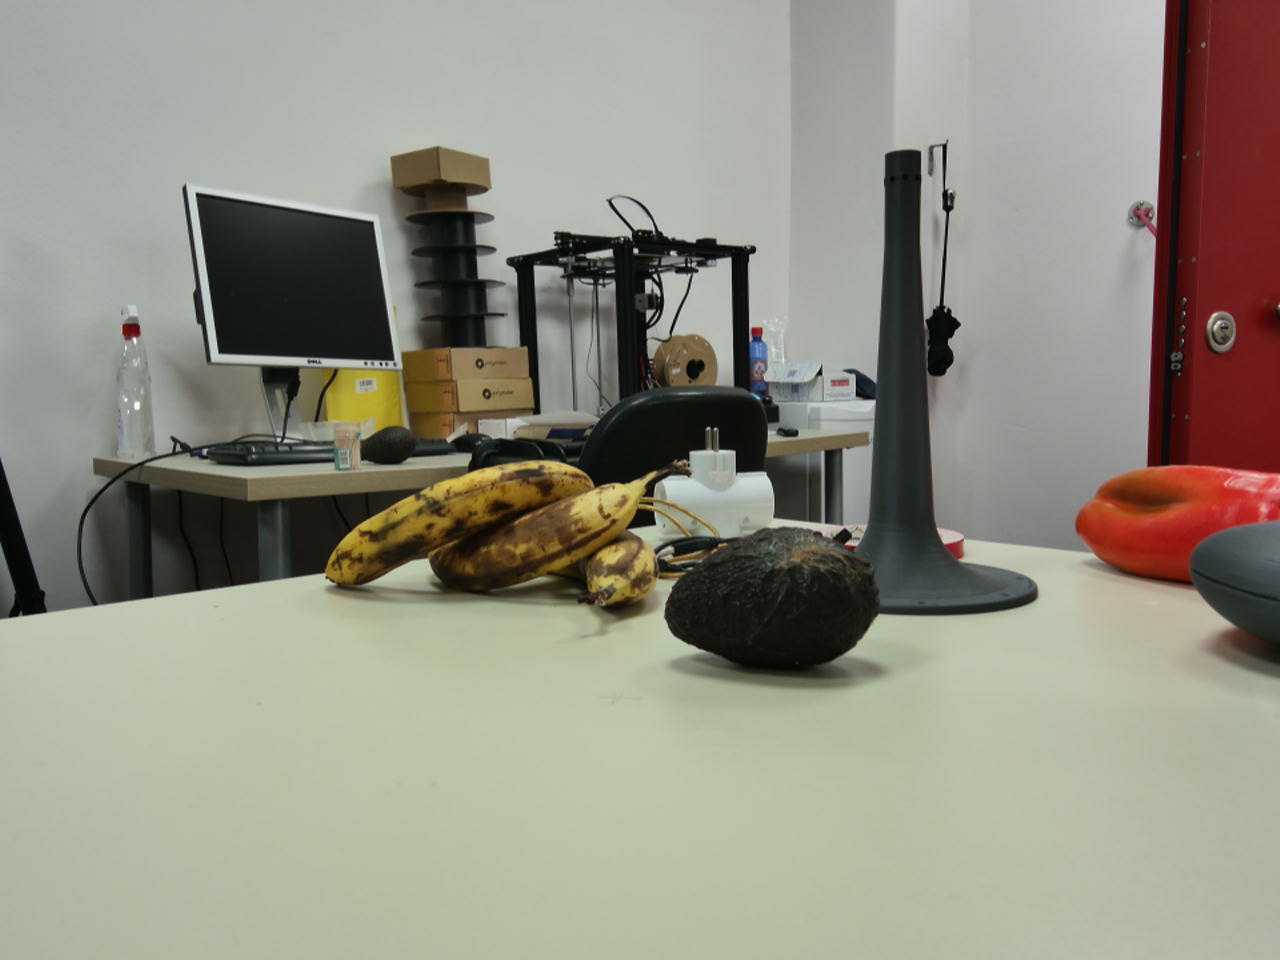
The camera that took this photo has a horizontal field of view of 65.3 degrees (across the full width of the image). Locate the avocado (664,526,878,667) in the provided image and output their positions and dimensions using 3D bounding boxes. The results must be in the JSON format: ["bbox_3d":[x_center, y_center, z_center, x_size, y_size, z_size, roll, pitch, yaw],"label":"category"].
[{"bbox_3d":[0.059,0.051,0.446,0.092,0.062,0.062,2,4,26],"label":"avocado"}]
